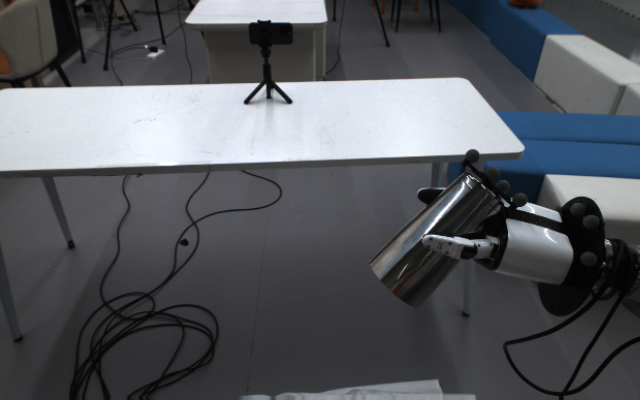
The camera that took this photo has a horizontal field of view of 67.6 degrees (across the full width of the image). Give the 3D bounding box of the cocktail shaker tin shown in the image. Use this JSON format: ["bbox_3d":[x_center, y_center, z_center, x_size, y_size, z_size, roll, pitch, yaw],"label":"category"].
[{"bbox_3d":[0.155,0.043,0.632,0.093,0.170,0.093,41,12,-11],"label":"cocktail shaker tin"}]
